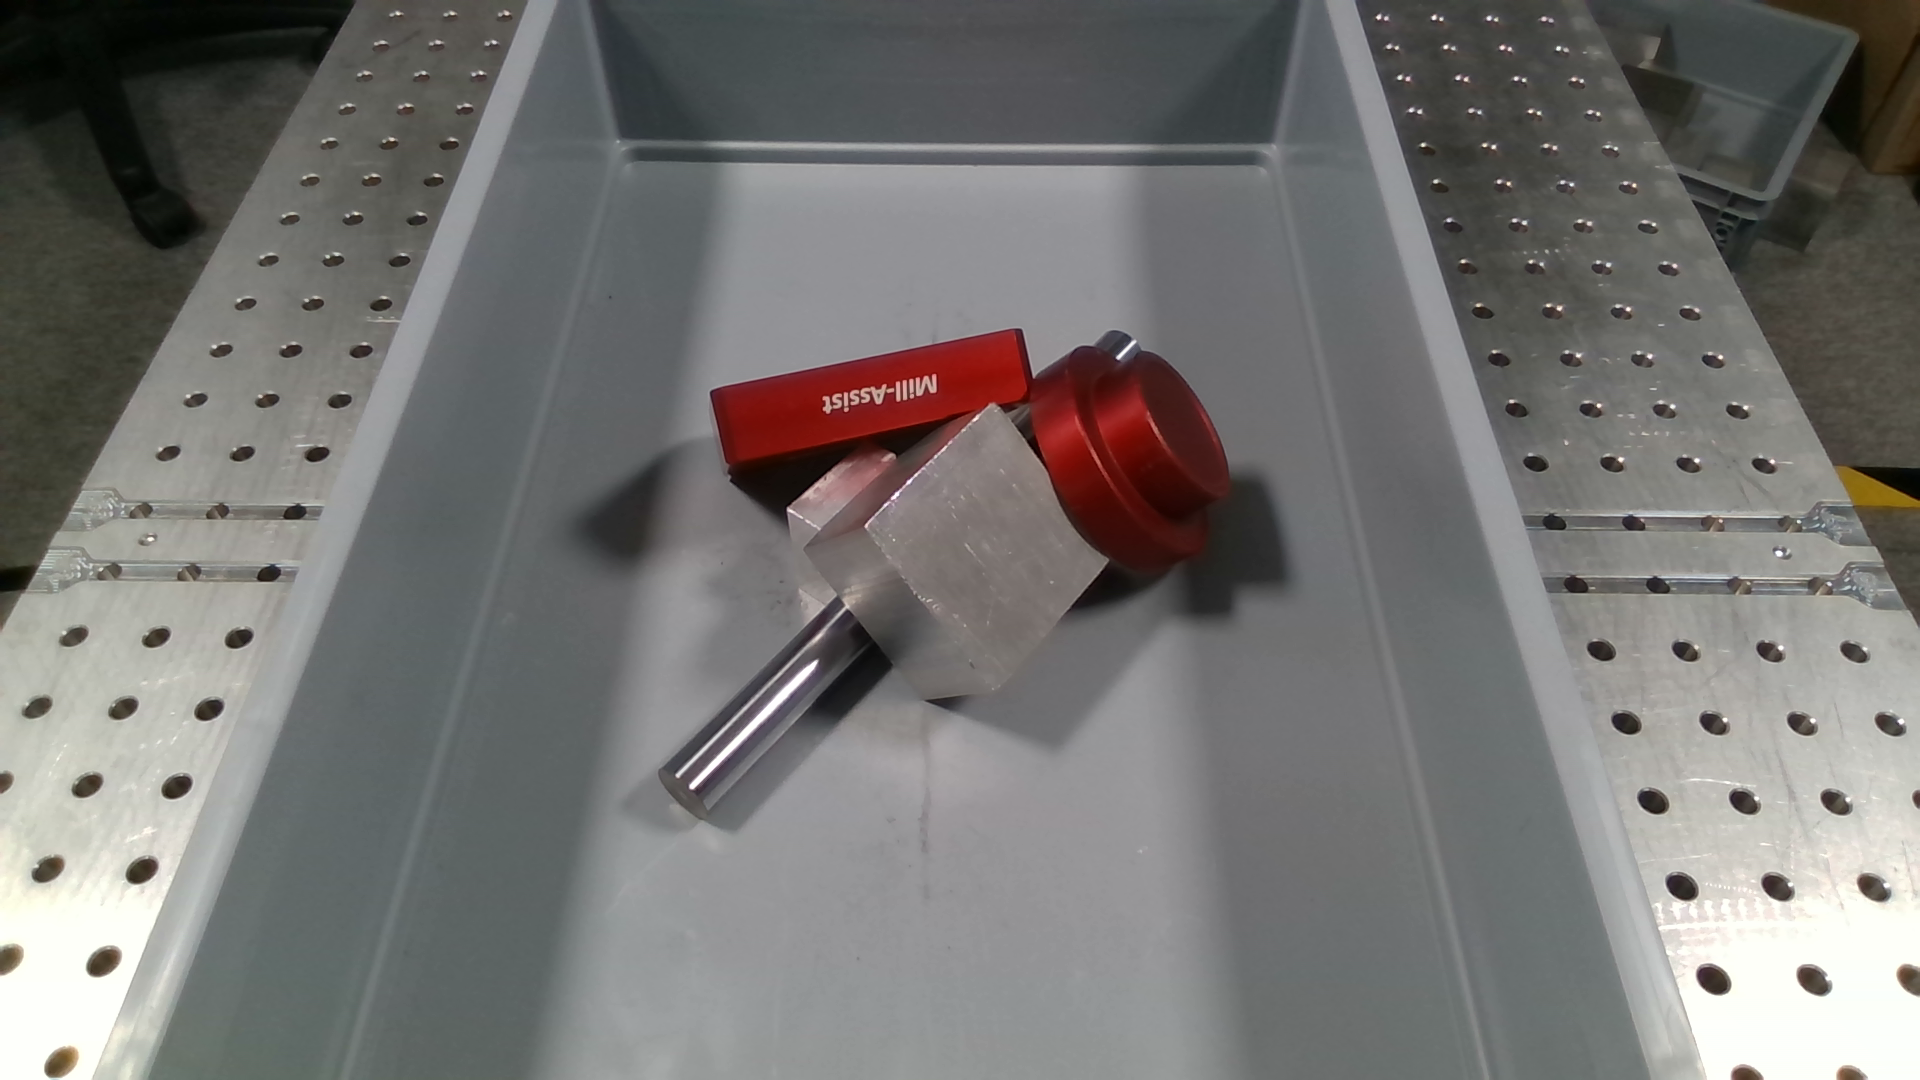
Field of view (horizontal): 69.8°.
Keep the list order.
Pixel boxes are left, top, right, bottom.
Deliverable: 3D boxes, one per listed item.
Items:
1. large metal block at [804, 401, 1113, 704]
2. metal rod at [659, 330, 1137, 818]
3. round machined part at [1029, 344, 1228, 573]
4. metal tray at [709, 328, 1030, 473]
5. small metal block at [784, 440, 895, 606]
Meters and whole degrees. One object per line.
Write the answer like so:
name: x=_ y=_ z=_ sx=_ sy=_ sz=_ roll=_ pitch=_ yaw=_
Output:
large metal block: x=0.000 y=0.006 z=0.539 sx=0.080 sy=0.050 sz=0.080 roll=-46 pitch=106 yaw=-31
metal rod: x=-0.012 y=0.002 z=0.584 sx=0.025 sy=0.025 sz=0.299 roll=30 pitch=56 yaw=23
round machined part: x=0.075 y=-0.039 z=0.568 sx=0.042 sy=0.098 sz=0.098 roll=-30 pitch=43 yaw=29
metal tray: x=-0.041 y=-0.058 z=0.594 sx=0.130 sy=0.090 sz=0.030 roll=-13 pitch=92 yaw=-11
small metal block: x=-0.045 y=-0.005 z=0.573 sx=0.025 sy=0.050 sz=0.050 roll=31 pitch=57 yaw=23
